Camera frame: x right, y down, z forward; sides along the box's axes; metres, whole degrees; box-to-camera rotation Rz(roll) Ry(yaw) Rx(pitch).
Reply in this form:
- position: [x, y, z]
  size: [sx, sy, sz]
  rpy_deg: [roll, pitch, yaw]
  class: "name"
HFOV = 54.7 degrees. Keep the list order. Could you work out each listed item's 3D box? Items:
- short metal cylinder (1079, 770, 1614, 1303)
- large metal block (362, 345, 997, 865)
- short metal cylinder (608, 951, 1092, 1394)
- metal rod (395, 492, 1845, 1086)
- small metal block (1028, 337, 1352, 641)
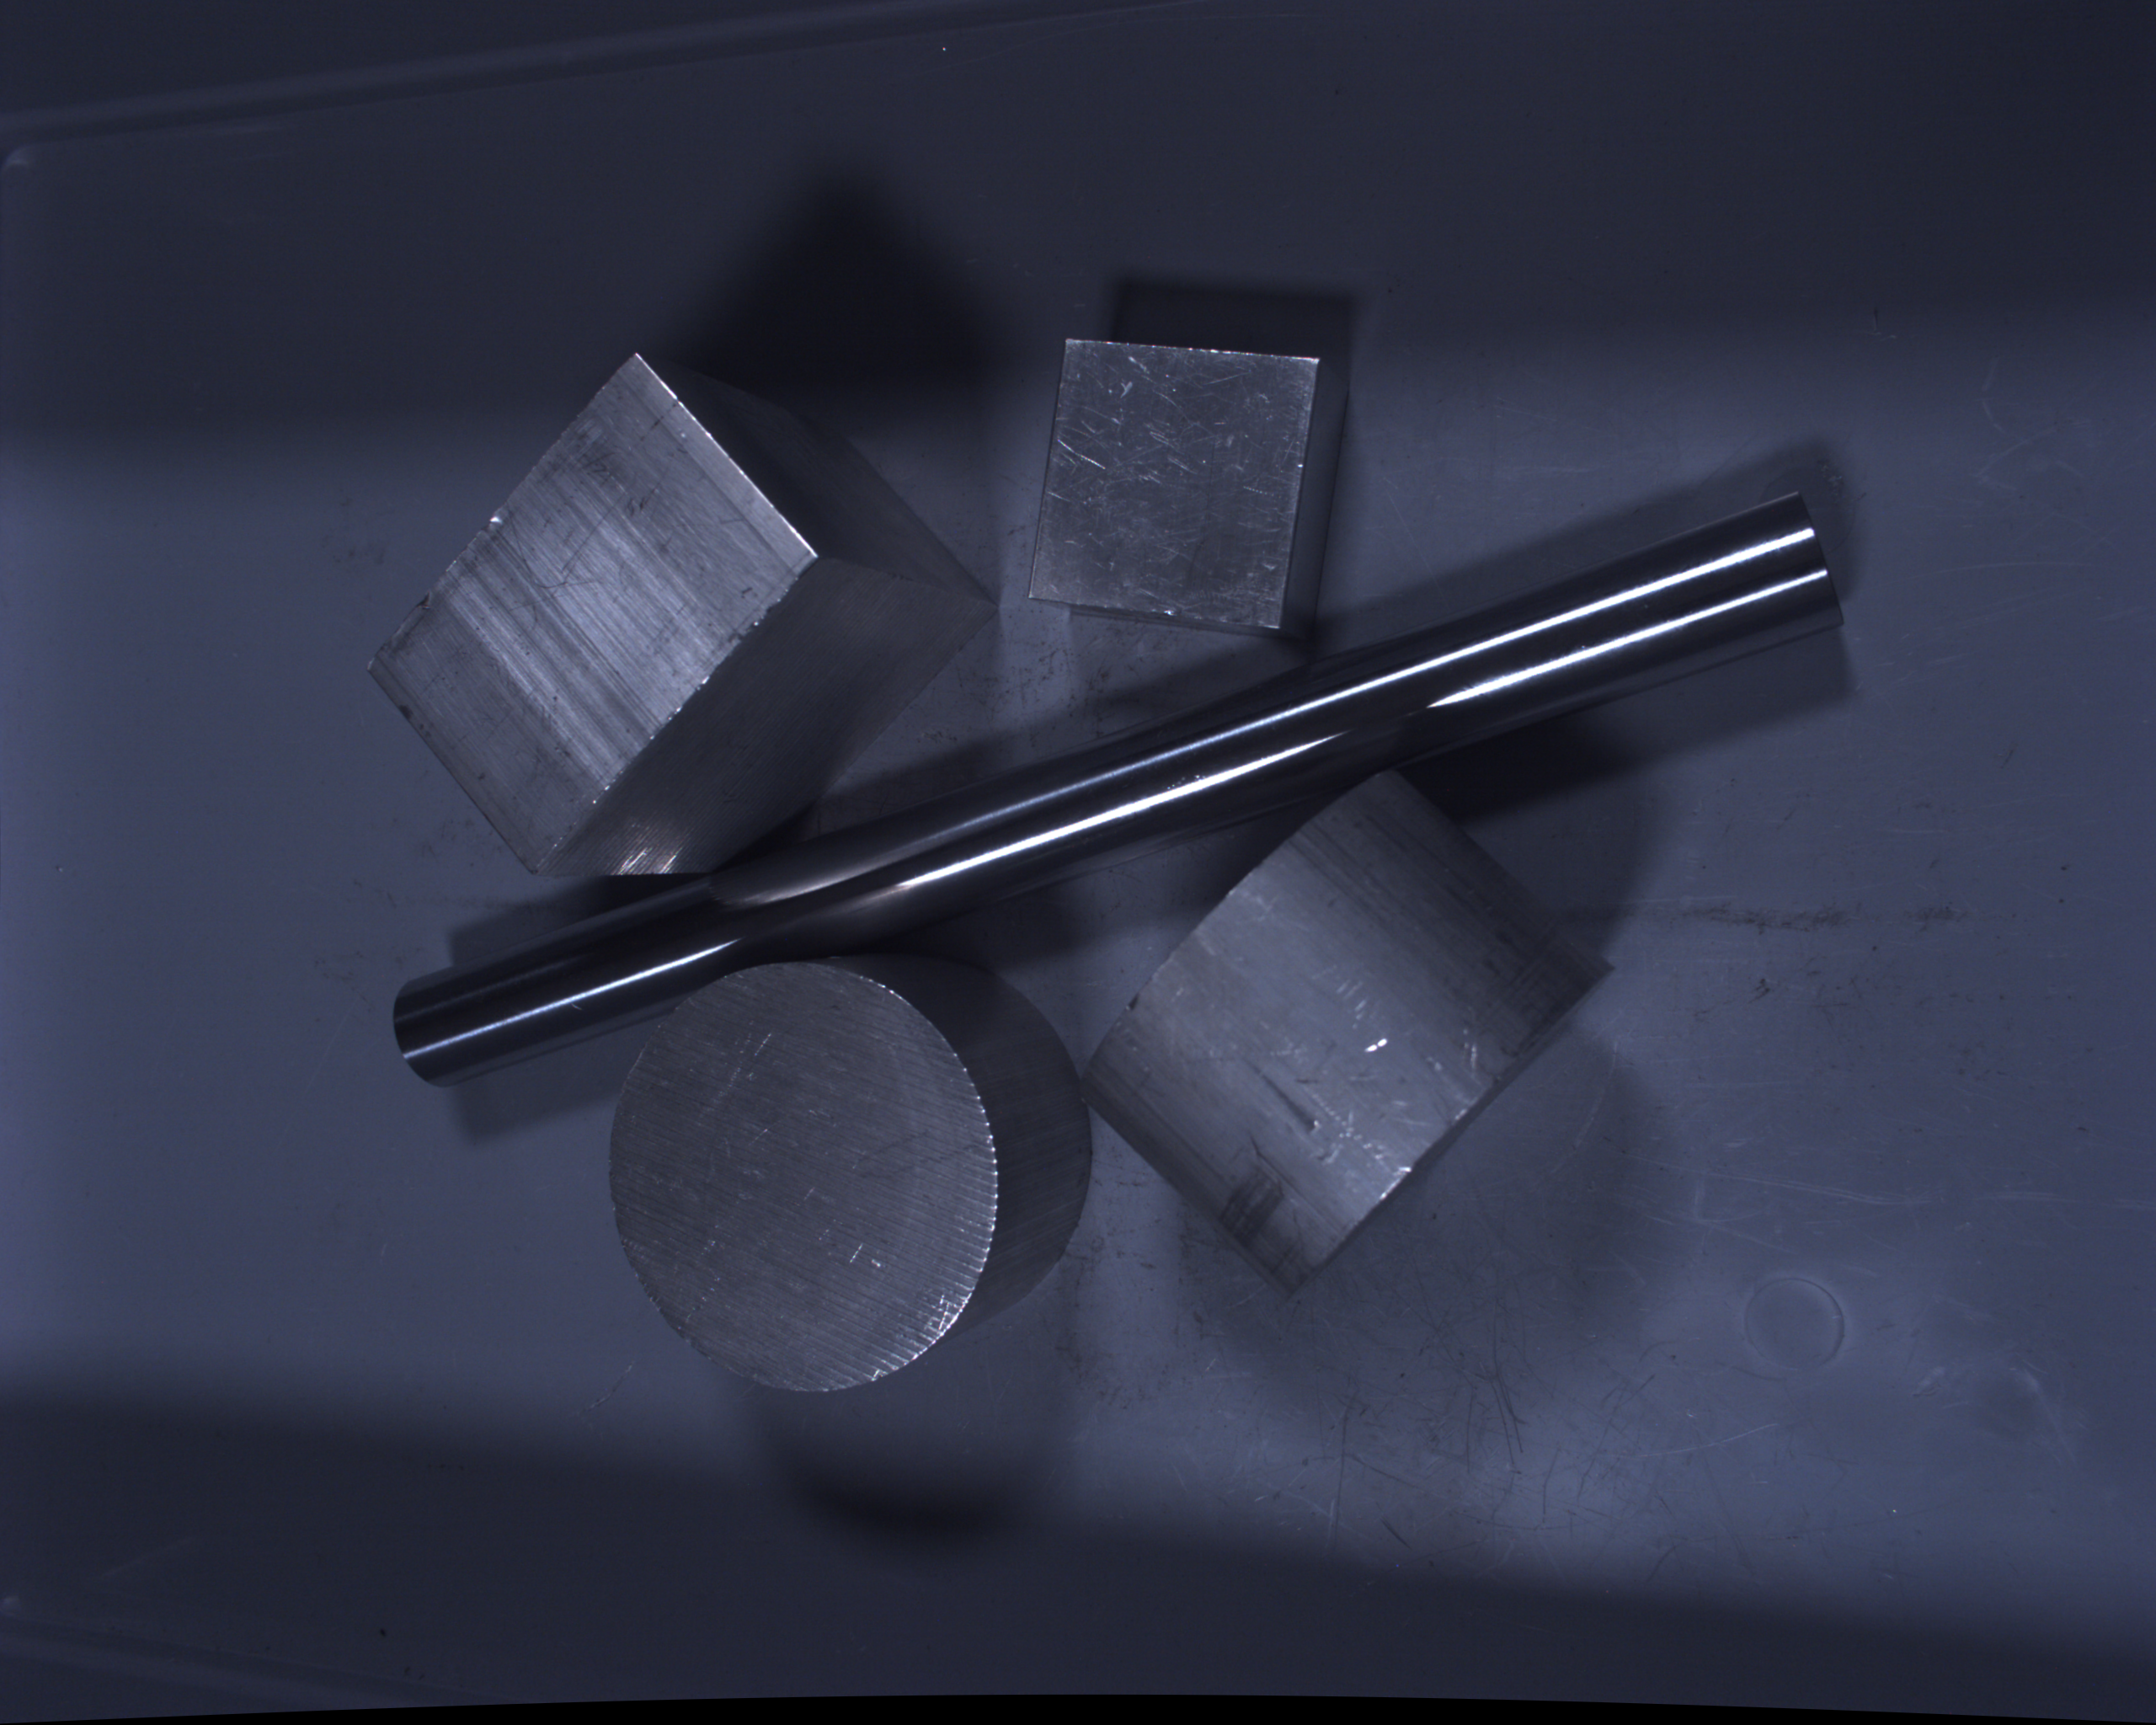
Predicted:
- position: [0.047, 0.030, 0.363]
  size: [0.050, 0.080, 0.080]
  rpy_deg: [44, 104, 14]
  class: "short metal cylinder"
- position: [-0.074, -0.045, 0.405]
  size: [0.080, 0.080, 0.050]
  rpy_deg: [-45, 76, 14]
  class: "large metal block"
- position: [-0.044, 0.058, 0.409]
  size: [0.080, 0.050, 0.079]
  rpy_deg: [0, 90, 19]
  class: "short metal cylinder"
- position: [-0.006, -0.008, 0.410]
  size: [0.301, 0.025, 0.025]
  rpy_deg: [-18, 84, 18]
  class: "metal rod"
- position: [0.022, -0.071, 0.400]
  size: [0.050, 0.025, 0.050]
  rpy_deg: [9, 93, 19]
  class: "small metal block"
